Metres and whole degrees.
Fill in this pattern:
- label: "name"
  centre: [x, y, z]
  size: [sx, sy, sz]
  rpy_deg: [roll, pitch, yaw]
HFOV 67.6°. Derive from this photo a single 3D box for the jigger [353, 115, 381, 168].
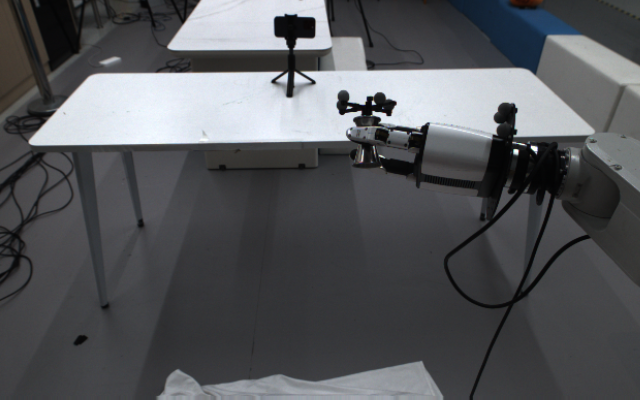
- label: "jigger"
  centre: [0.066, -0.083, 0.691]
  size: [0.043, 0.071, 0.043]
  rpy_deg: [1, -5, 0]
